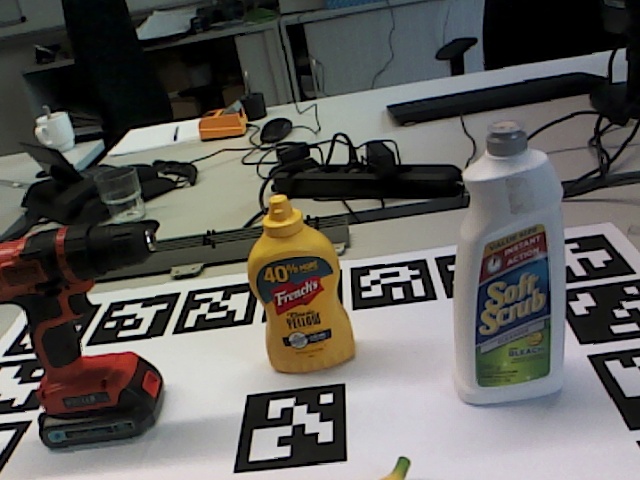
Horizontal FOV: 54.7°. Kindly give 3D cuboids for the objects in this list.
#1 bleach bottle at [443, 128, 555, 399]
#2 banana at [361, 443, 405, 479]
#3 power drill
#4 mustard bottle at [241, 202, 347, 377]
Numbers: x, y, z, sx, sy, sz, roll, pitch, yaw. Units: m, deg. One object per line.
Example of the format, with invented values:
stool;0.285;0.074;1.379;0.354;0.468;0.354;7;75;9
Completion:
bleach bottle;0.153;0.026;0.547;0.103;0.250;0.068;-4;28;12
banana;-0.024;0.209;0.479;0.197;0.038;0.074;-13;30;2
power drill;-0.222;0.073;0.600;0.184;0.186;0.057;-14;28;2
mustard bottle;-0.030;0.050;0.637;0.096;0.191;0.058;-11;28;-3
